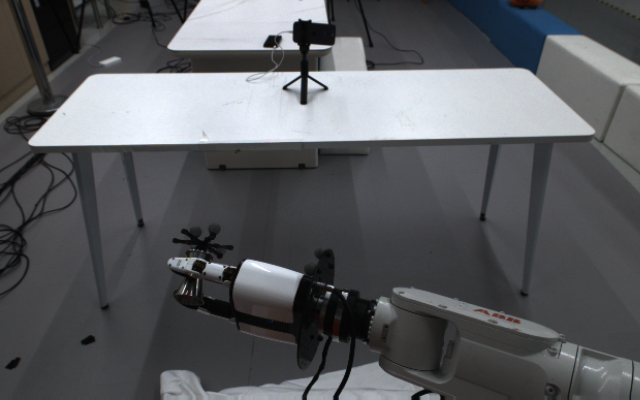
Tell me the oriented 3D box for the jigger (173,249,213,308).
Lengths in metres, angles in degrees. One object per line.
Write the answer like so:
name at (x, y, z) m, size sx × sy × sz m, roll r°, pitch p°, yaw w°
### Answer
jigger at (-0.178, 0.107, 0.677) m, size 0.043 × 0.043 × 0.071 m, roll 6°, pitch 60°, yaw 6°
